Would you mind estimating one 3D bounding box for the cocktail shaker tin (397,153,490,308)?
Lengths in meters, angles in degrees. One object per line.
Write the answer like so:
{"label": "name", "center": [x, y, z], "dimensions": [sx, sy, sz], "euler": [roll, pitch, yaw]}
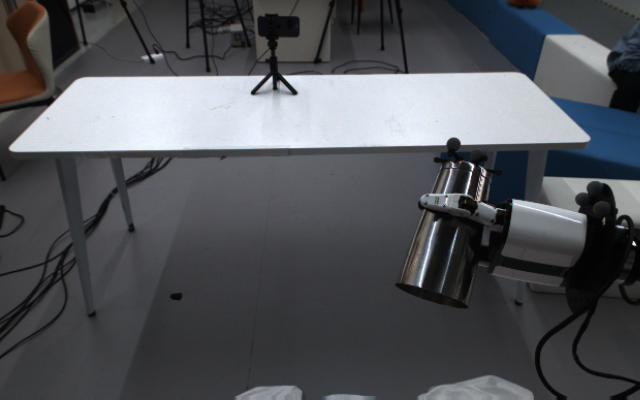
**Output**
{"label": "cocktail shaker tin", "center": [0.165, 0.040, 0.611], "dimensions": [0.093, 0.093, 0.170], "euler": [15, 74, 18]}
